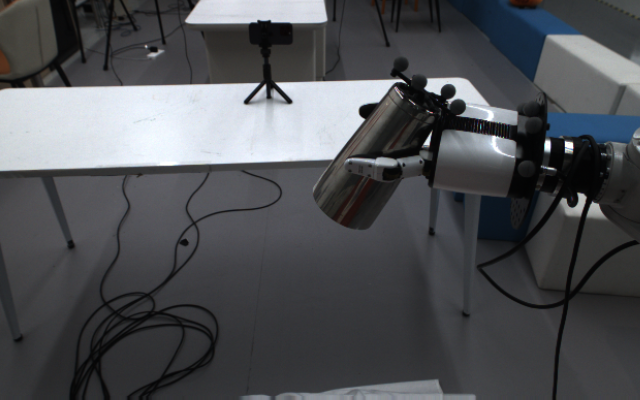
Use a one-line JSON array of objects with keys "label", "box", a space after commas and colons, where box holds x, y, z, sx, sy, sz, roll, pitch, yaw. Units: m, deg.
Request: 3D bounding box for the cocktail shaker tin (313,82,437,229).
[{"label": "cocktail shaker tin", "box": [0.072, -0.059, 0.597, 0.093, 0.170, 0.093, 26, 32, -17]}]
